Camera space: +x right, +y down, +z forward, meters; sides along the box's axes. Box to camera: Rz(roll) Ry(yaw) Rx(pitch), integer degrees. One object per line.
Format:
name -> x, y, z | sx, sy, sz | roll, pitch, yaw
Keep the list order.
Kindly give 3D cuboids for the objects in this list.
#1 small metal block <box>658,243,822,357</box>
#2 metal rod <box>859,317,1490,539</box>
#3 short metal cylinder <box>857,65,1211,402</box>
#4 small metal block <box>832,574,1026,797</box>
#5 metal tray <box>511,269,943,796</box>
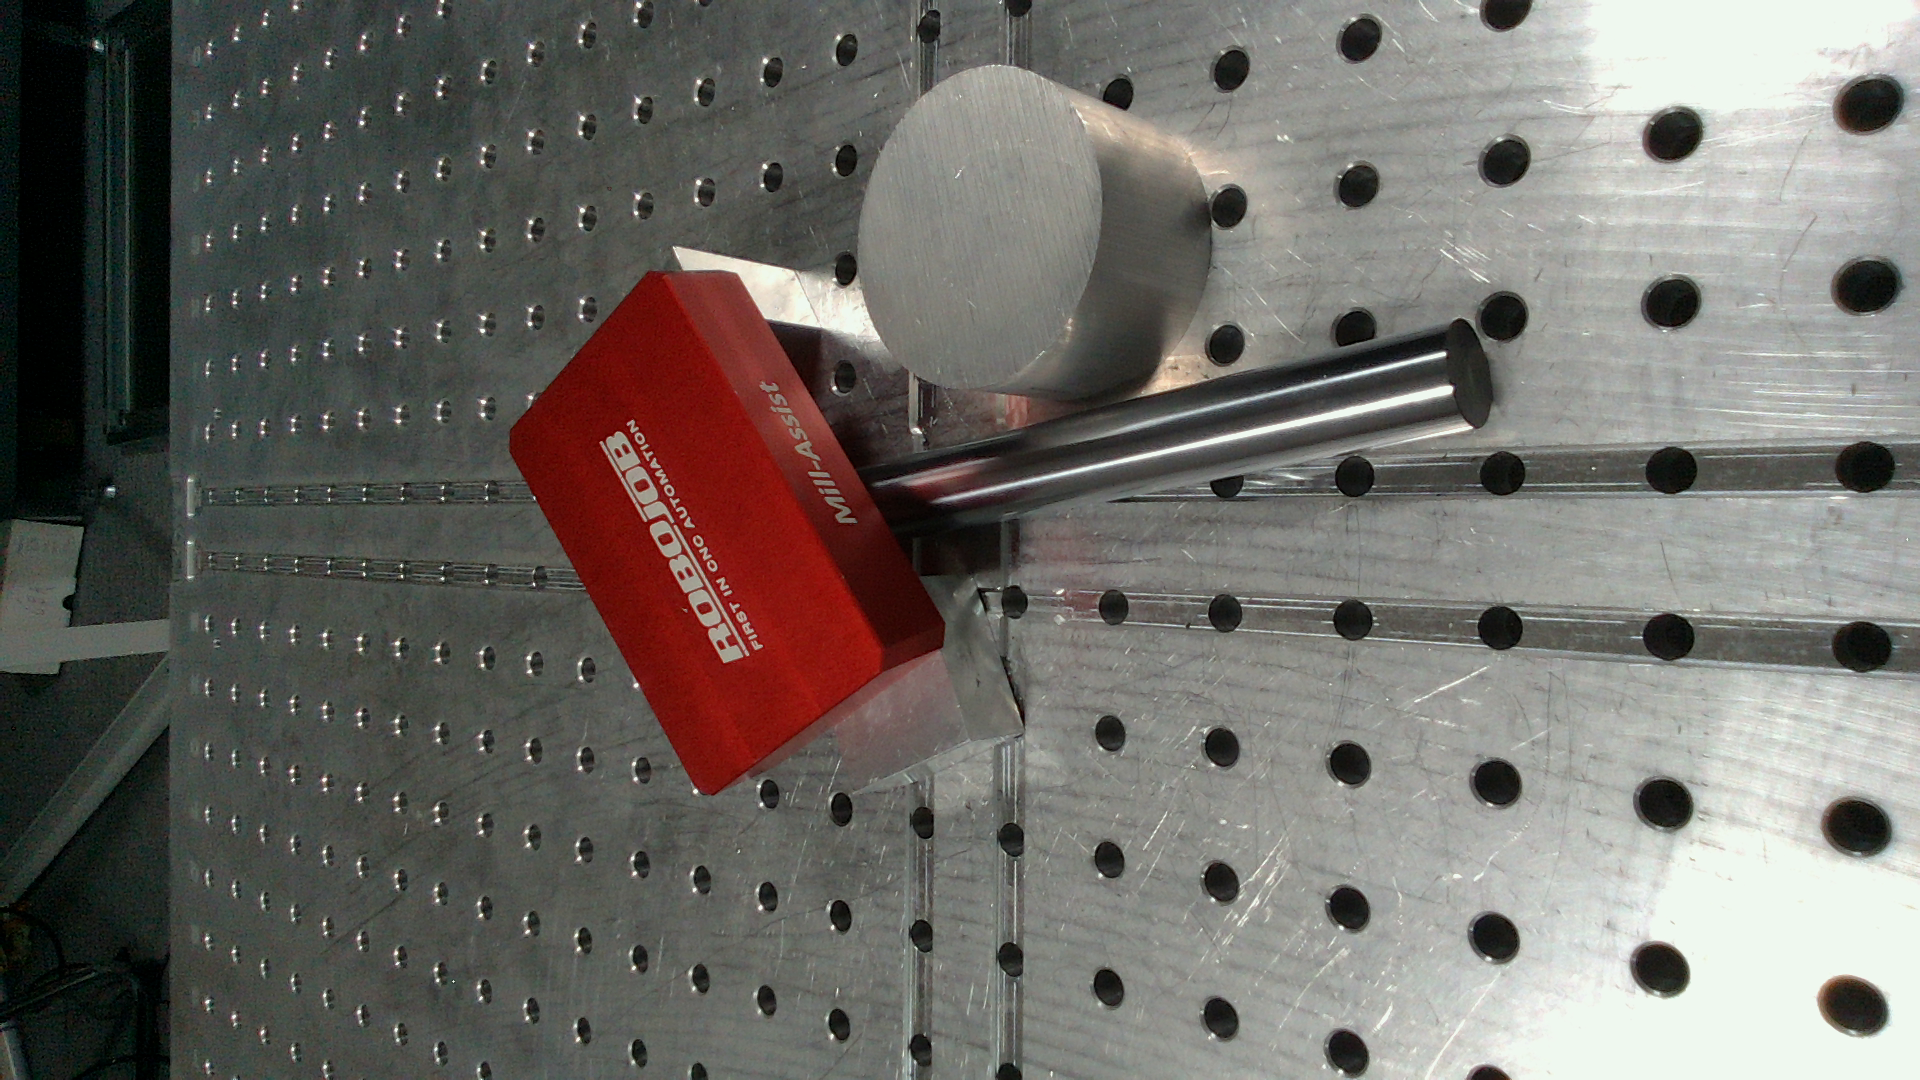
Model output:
small metal block -> -0.083, -0.067, 0.451 | 0.050, 0.050, 0.025 | -39, 66, 33
metal rod -> -0.001, -0.016, 0.399 | 0.299, 0.025, 0.025 | -11, 83, 40
short metal cylinder -> 0.019, -0.078, 0.365 | 0.080, 0.050, 0.080 | 0, 90, 40
small metal block -> -0.014, 0.043, 0.408 | 0.050, 0.025, 0.050 | -30, 71, 36
metal tray -> -0.072, -0.002, 0.405 | 0.090, 0.030, 0.130 | -38, 78, 34
